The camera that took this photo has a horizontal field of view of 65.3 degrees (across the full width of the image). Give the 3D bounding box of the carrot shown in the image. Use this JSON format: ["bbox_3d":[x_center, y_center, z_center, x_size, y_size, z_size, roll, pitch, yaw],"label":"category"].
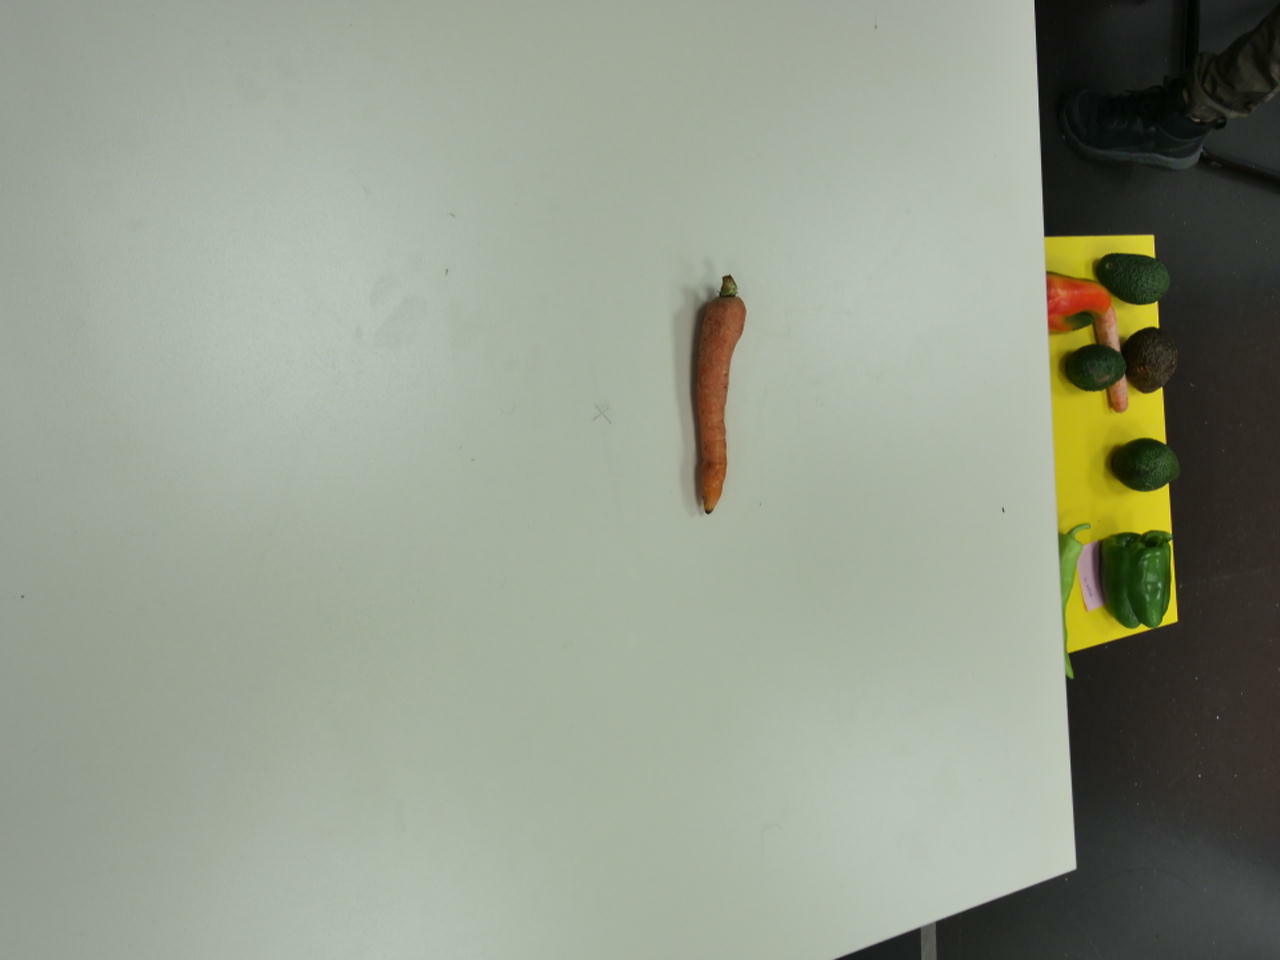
[{"bbox_3d":[0.056,-0.060,0.716,0.030,0.032,0.173,6,88,-28],"label":"carrot"}]
